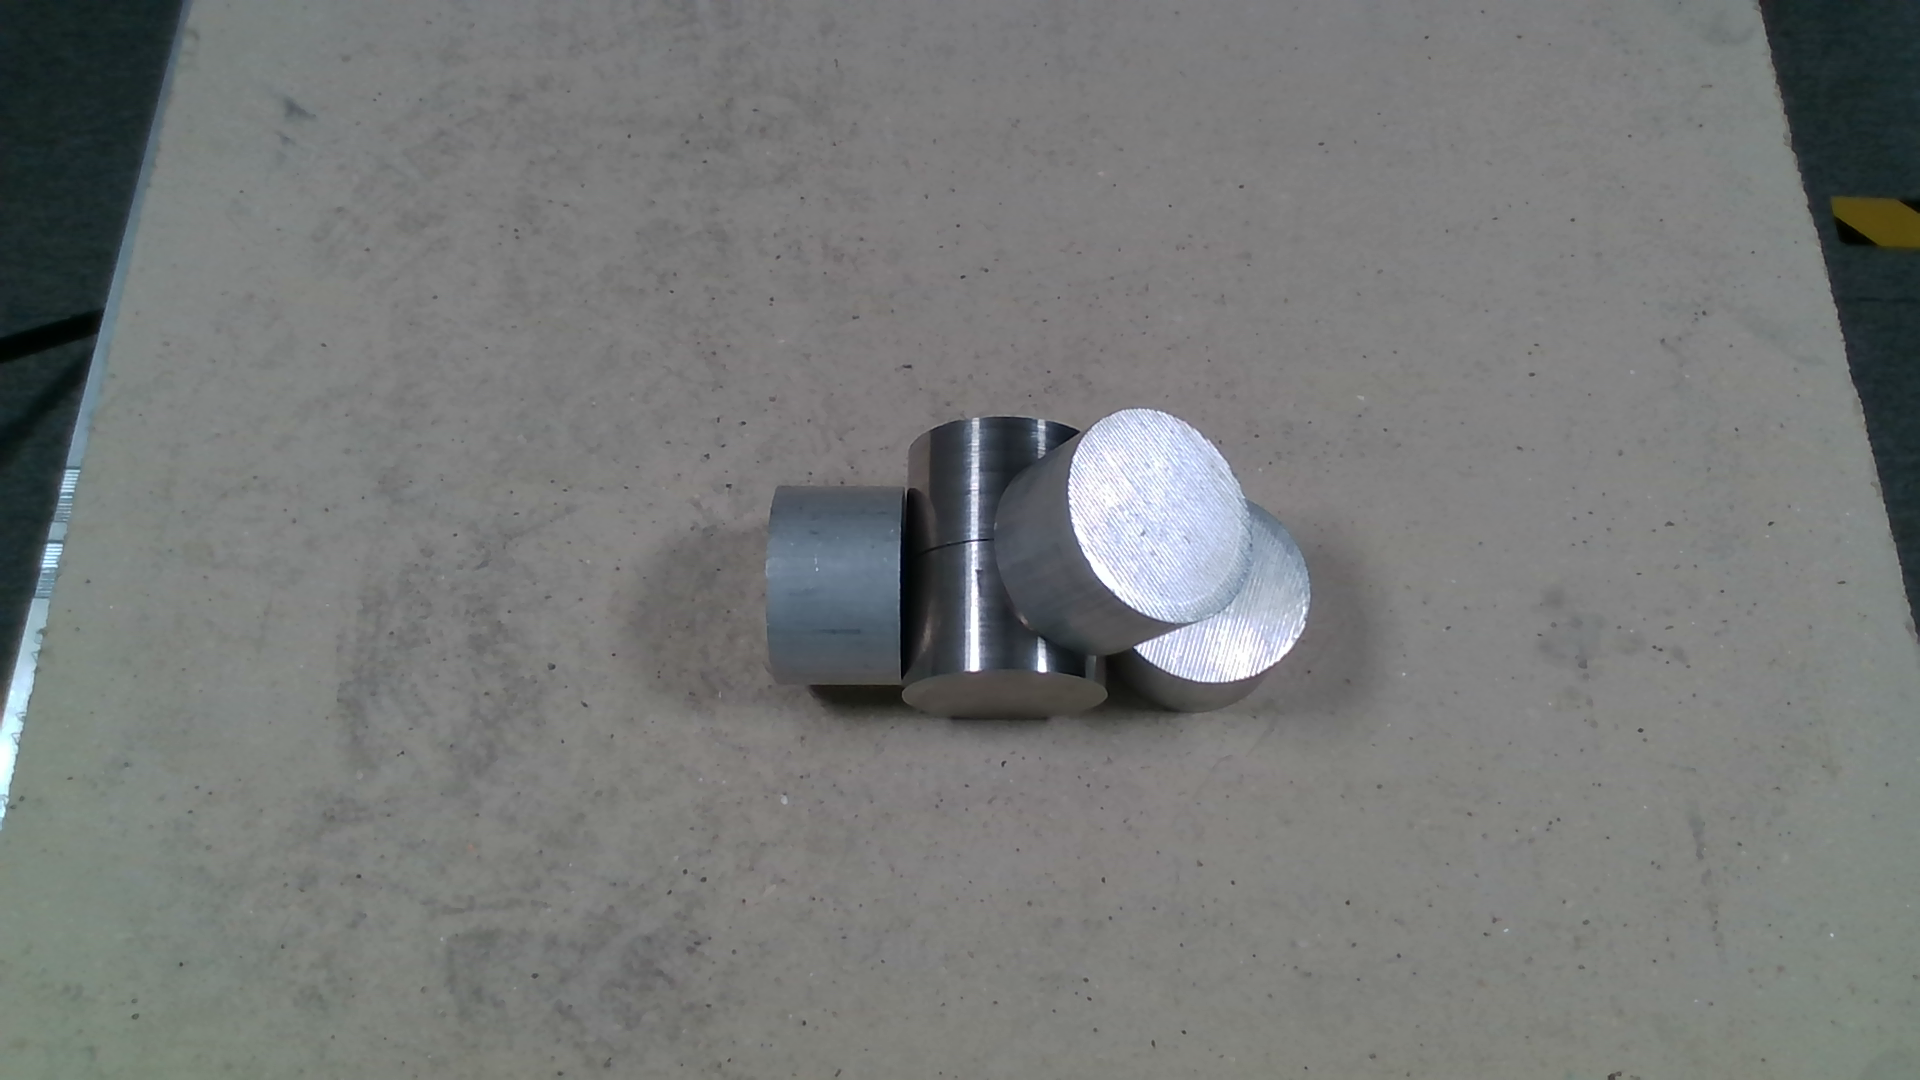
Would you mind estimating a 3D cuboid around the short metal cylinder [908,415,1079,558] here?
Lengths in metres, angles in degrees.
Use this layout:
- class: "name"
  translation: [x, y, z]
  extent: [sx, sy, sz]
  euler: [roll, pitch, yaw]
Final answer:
- class: "short metal cylinder"
  translation: [0.018, -0.011, 0.564]
  extent: [0.080, 0.080, 0.050]
  euler: [1, 70, 0]

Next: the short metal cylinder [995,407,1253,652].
- class: "short metal cylinder"
  translation: [0.060, -0.002, 0.505]
  extent: [0.080, 0.050, 0.080]
  euler: [10, 68, -27]

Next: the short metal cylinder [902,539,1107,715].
- class: "short metal cylinder"
  translation: [0.017, 0.037, 0.545]
  extent: [0.080, 0.080, 0.050]
  euler: [0, 69, 0]

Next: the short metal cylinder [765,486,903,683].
- class: "short metal cylinder"
  translation: [-0.048, 0.018, 0.553]
  extent: [0.050, 0.080, 0.080]
  euler: [0, 70, 0]

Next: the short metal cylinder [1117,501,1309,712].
- class: "short metal cylinder"
  translation: [0.098, 0.026, 0.567]
  extent: [0.080, 0.050, 0.080]
  euler: [0, 70, 0]
